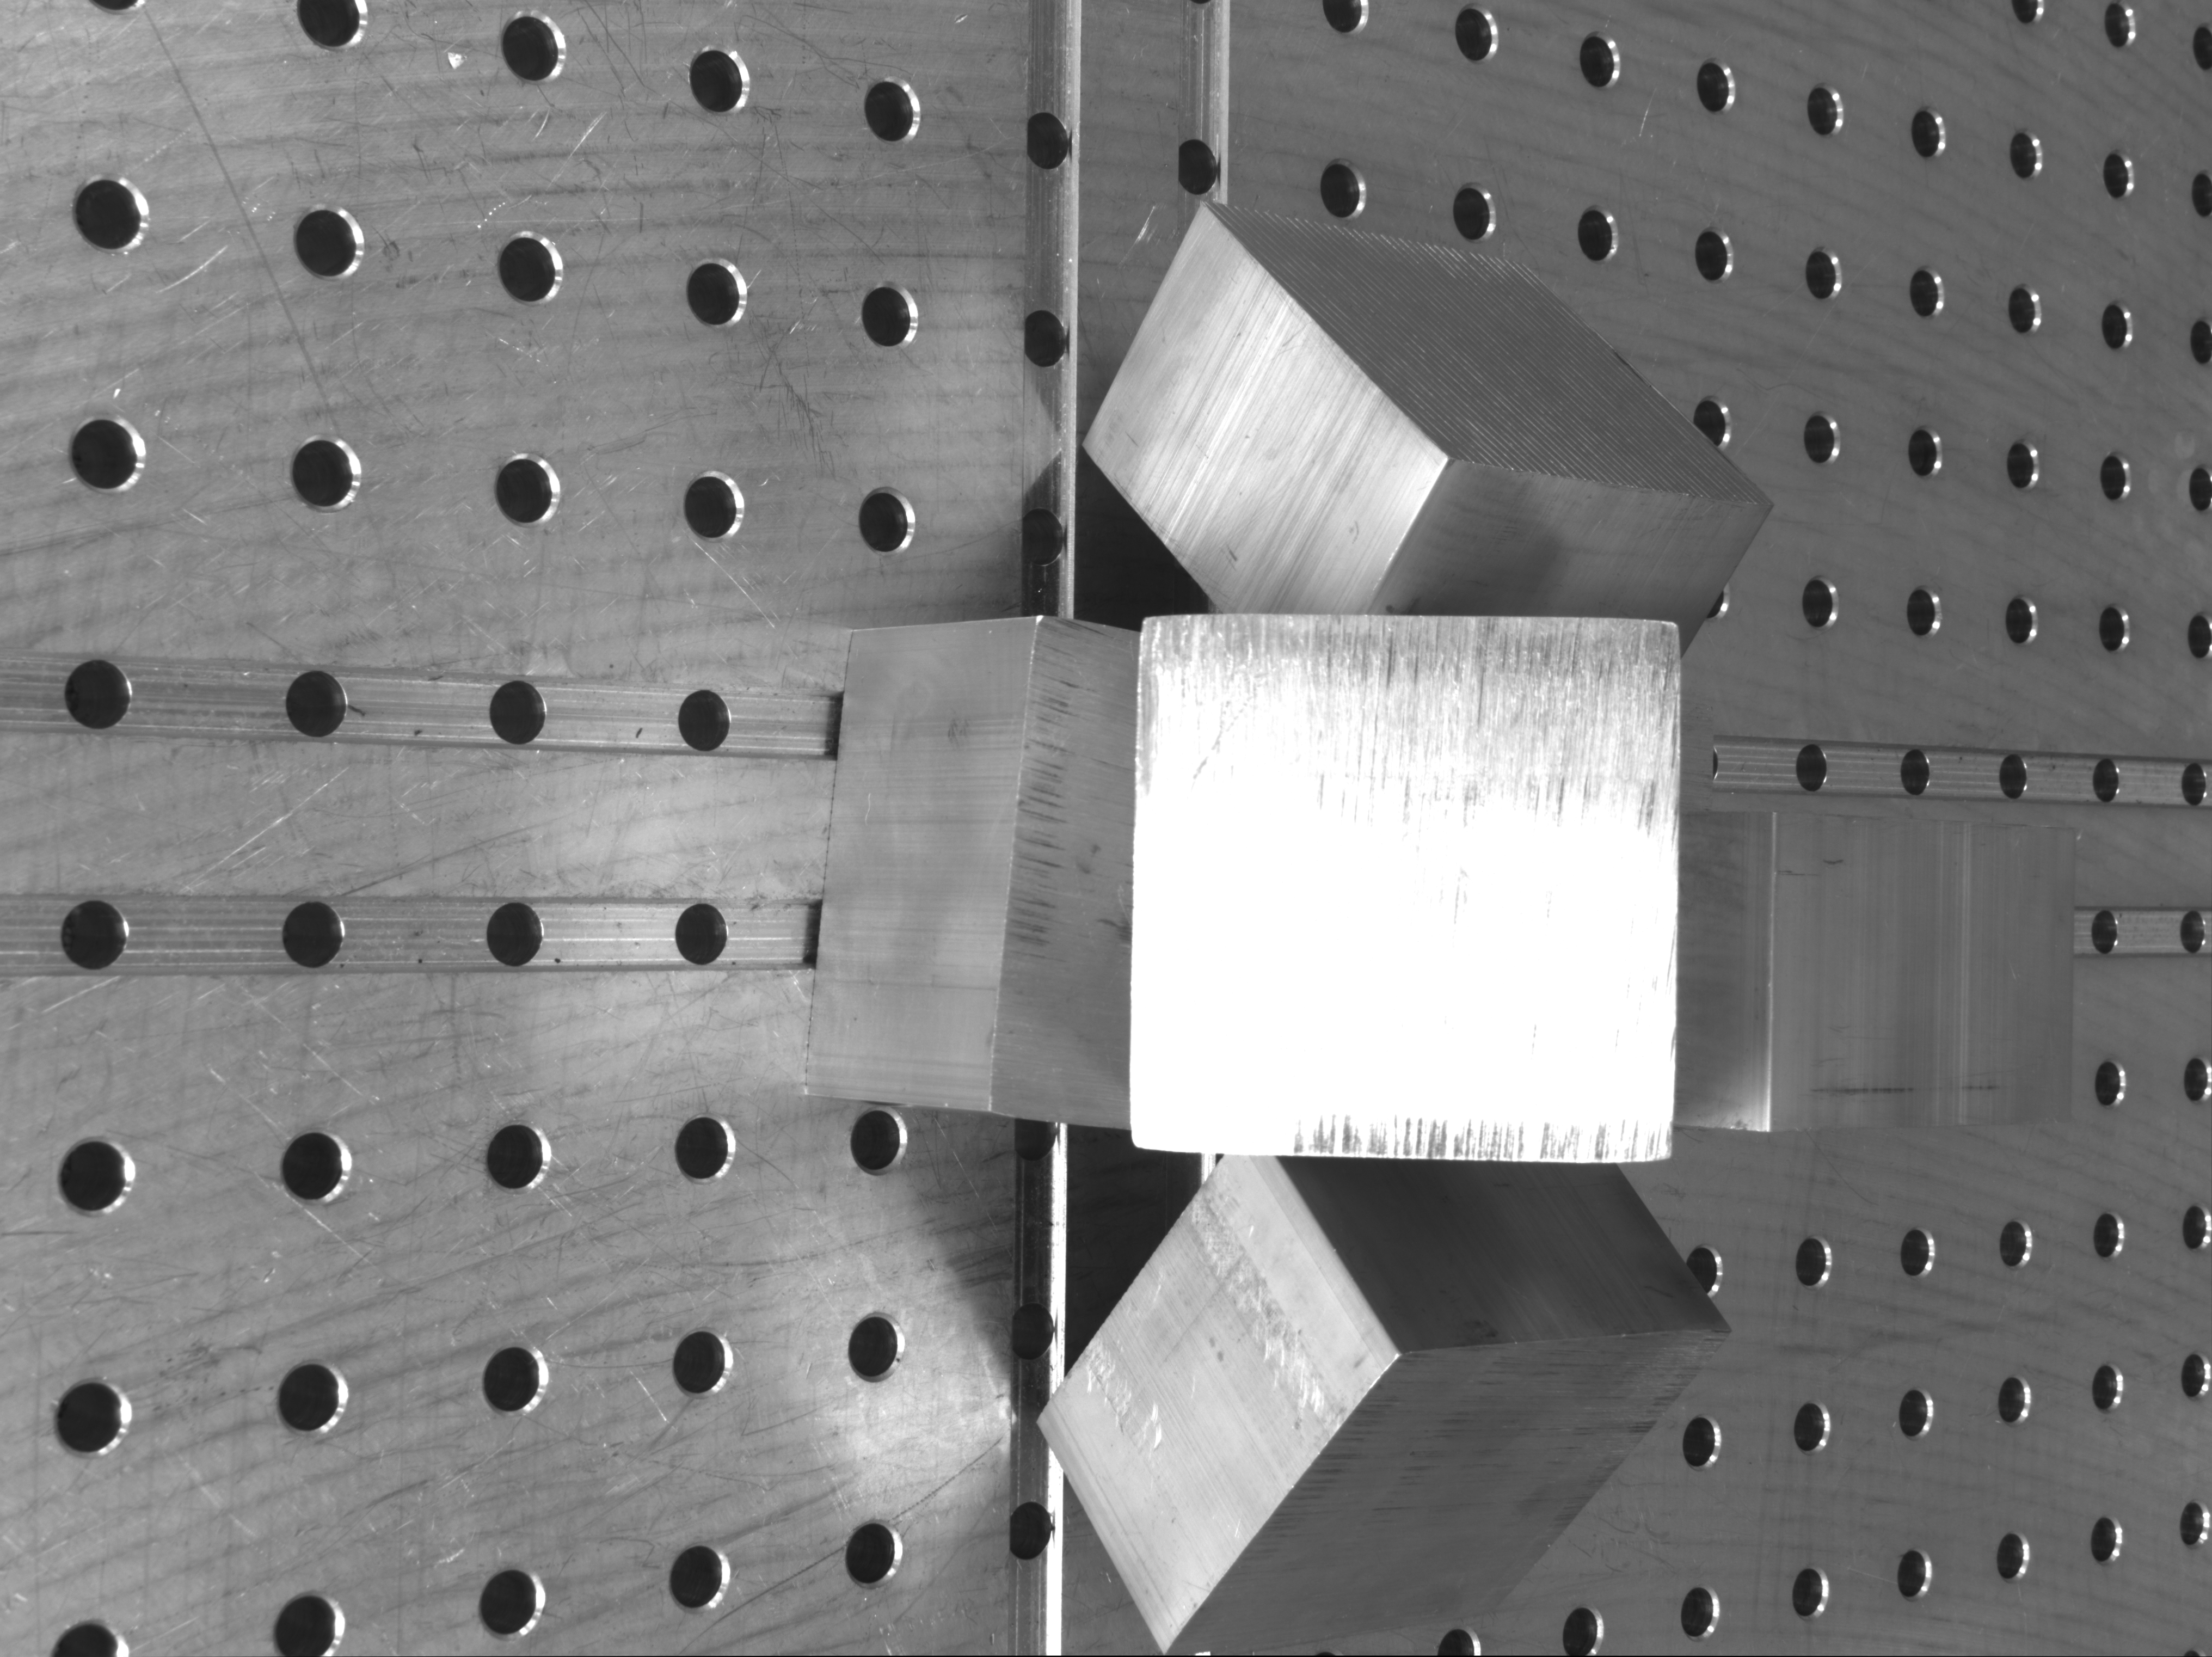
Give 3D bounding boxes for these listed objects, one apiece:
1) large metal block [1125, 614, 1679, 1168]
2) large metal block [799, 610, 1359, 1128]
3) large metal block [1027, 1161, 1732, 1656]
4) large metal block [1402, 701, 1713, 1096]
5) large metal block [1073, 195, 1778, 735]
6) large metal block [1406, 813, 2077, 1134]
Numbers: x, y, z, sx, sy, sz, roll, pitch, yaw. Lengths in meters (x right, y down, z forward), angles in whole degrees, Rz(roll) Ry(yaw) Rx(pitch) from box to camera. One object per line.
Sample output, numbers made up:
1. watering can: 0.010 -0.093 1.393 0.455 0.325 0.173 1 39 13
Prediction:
1. large metal block: 0.046 0.009 0.566 0.080 0.050 0.080 1 89 5
2. large metal block: -0.001 0.010 0.623 0.080 0.050 0.080 9 84 -39
3. large metal block: 0.046 0.095 0.635 0.080 0.050 0.080 3 132 -39
4. large metal block: 0.065 0.015 0.676 0.080 0.050 0.080 4 88 -40
5. large metal block: 0.055 -0.062 0.640 0.080 0.080 0.050 3 126 -40
6. large metal block: 0.108 0.024 0.629 0.080 0.080 0.050 2 88 -40
